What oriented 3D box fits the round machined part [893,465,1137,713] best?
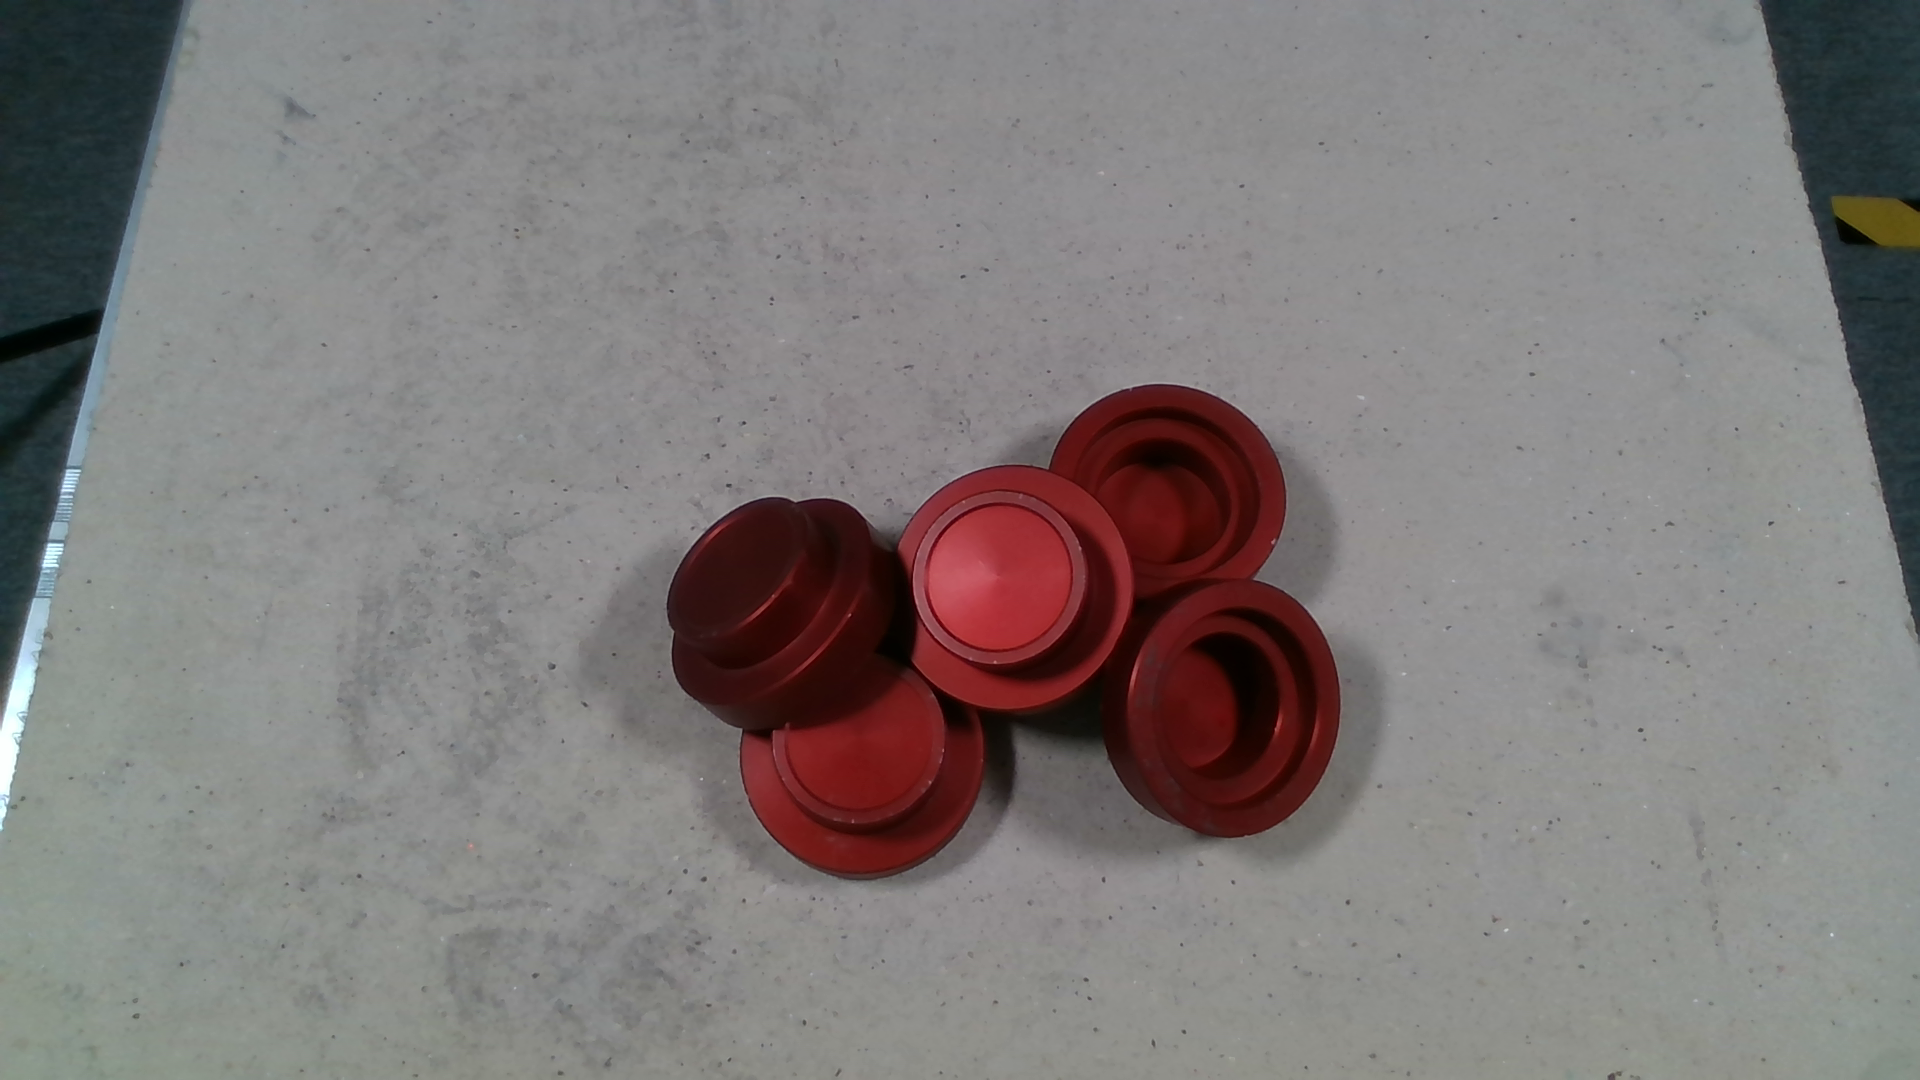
[{"bbox_3d":[0.019,0.018,0.538,0.098,0.042,0.098,-2,78,10],"label":"round machined part"}]

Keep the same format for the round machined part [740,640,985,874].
[{"bbox_3d":[-0.039,0.083,0.549,0.098,0.042,0.098,0,70,0],"label":"round machined part"}]

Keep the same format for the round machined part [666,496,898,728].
[{"bbox_3d":[-0.077,0.022,0.545,0.098,0.042,0.098,-23,42,23],"label":"round machined part"}]

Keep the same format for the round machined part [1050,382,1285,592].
[{"bbox_3d":[0.085,-0.014,0.584,0.098,0.042,0.098,0,70,0],"label":"round machined part"}]

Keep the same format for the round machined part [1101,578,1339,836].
[{"bbox_3d":[0.097,0.064,0.542,0.098,0.042,0.098,0,89,-25],"label":"round machined part"}]
